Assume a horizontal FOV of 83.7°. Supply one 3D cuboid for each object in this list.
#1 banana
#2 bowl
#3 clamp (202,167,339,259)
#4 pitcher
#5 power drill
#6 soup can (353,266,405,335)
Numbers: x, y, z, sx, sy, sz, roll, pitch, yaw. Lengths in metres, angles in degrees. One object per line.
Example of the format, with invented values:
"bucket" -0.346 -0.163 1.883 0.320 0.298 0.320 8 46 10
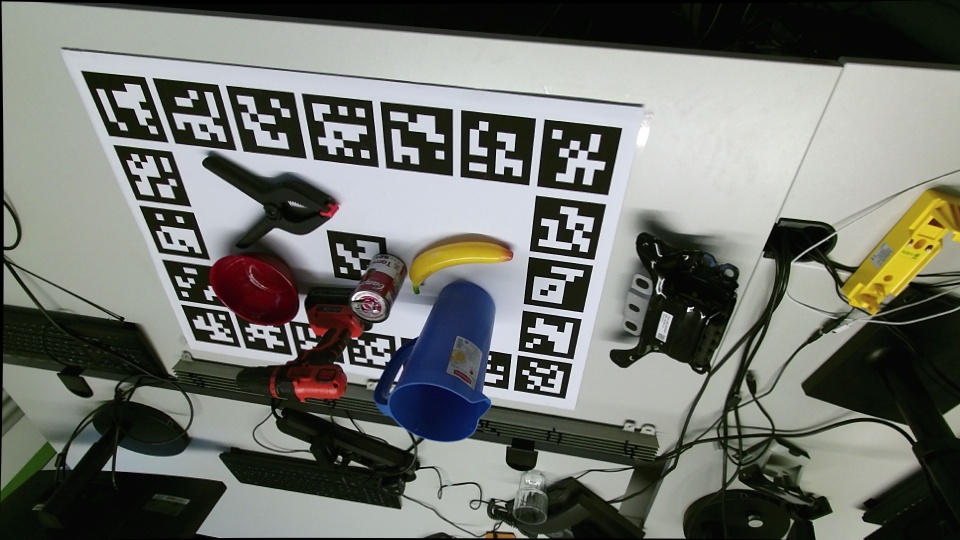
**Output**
"banana" -0.038 0.007 0.867 0.198 0.038 0.074 -14 130 22
"bowl" -0.391 0.043 0.949 0.162 0.055 0.161 5 125 7
"clamp" -0.326 -0.079 0.852 0.203 0.036 0.165 5 122 8
"pitcher" -0.062 0.156 0.851 0.189 0.241 0.133 -14 125 20
"power drill" -0.298 0.151 0.905 0.185 0.186 0.057 3 125 10
"soup can" -0.168 0.051 0.884 0.068 0.101 0.068 6 135 6
